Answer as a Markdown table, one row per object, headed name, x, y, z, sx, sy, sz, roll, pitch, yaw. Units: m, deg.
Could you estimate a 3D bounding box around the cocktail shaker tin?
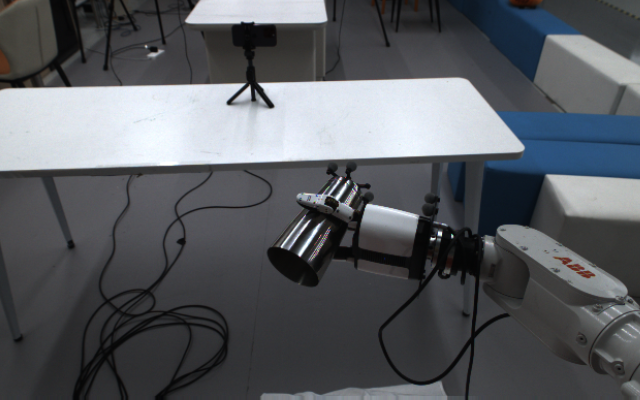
| name | x | y | z | sx | sy | sz | roll | pitch | yaw |
| --- | --- | --- | --- | --- | --- | --- | --- | --- | --- |
| cocktail shaker tin | 0.003 | 0.036 | 0.761 | 0.093 | 0.093 | 0.170 | 19 | 55 | 23 |
